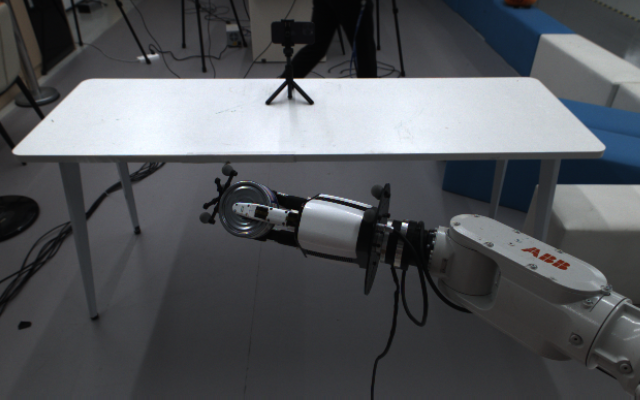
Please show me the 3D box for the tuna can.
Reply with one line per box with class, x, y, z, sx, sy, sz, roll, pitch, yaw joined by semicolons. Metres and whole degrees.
tuna can;-0.105;0.013;0.719;0.085;0.085;0.034;12;-3;14
